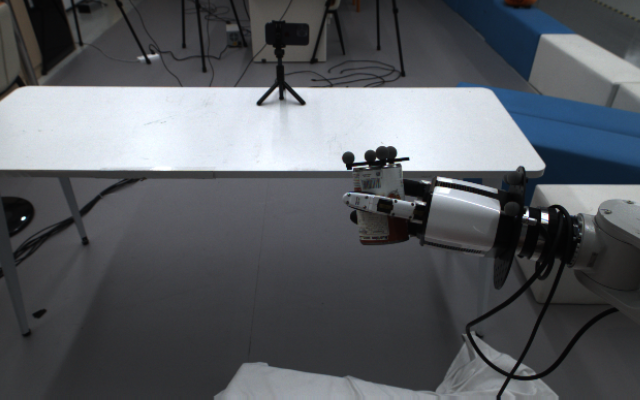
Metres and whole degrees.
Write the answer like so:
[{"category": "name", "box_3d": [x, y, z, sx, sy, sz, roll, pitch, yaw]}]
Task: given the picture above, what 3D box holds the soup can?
[{"category": "soup can", "box_3d": [0.083, 0.005, 0.649, 0.067, 0.101, 0.067, -7, 3, 0]}]
